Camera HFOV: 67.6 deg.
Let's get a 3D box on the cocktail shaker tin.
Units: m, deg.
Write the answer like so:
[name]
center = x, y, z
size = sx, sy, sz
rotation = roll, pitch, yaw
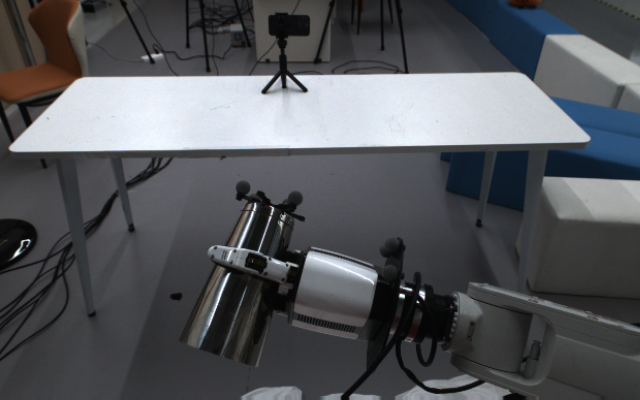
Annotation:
[cocktail shaker tin]
center = -0.087, 0.093, 0.557
size = 0.093, 0.093, 0.170
rotation = 13, 70, 15
